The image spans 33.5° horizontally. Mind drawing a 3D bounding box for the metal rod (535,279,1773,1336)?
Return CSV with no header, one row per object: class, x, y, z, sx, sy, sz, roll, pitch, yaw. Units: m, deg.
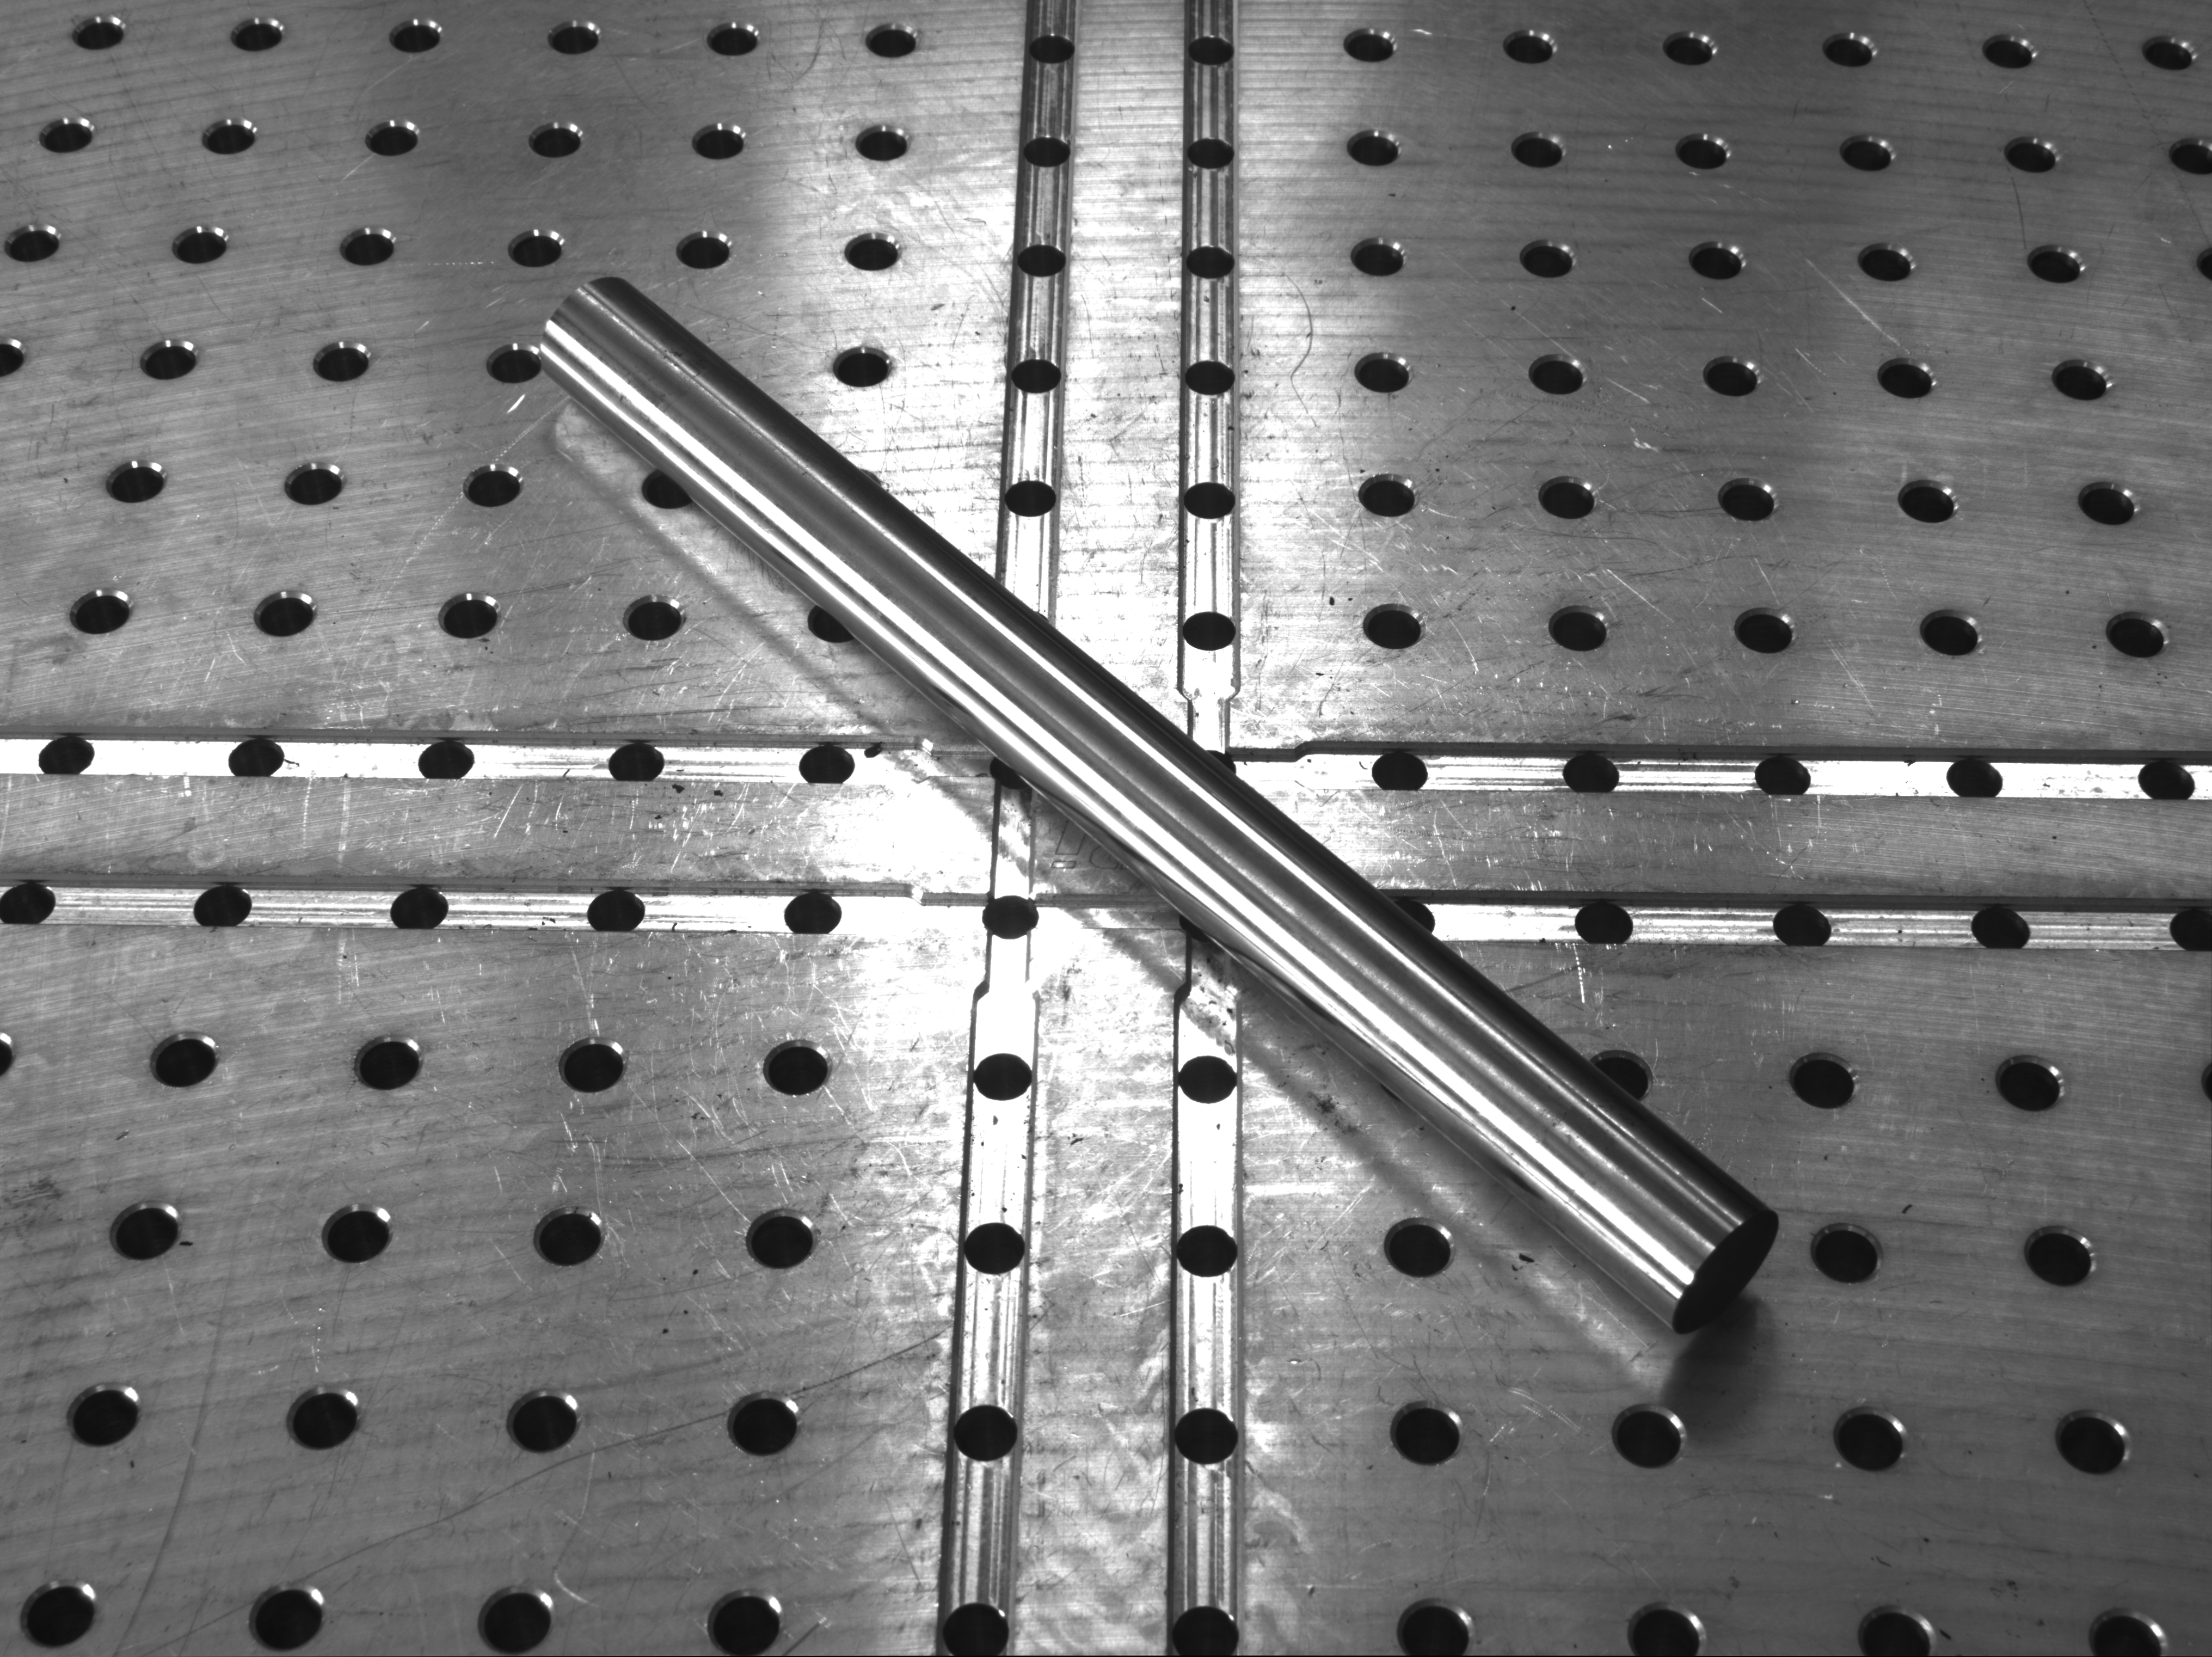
metal rod,-0.003,-0.013,0.657,0.025,0.025,0.299,-35,58,-26
